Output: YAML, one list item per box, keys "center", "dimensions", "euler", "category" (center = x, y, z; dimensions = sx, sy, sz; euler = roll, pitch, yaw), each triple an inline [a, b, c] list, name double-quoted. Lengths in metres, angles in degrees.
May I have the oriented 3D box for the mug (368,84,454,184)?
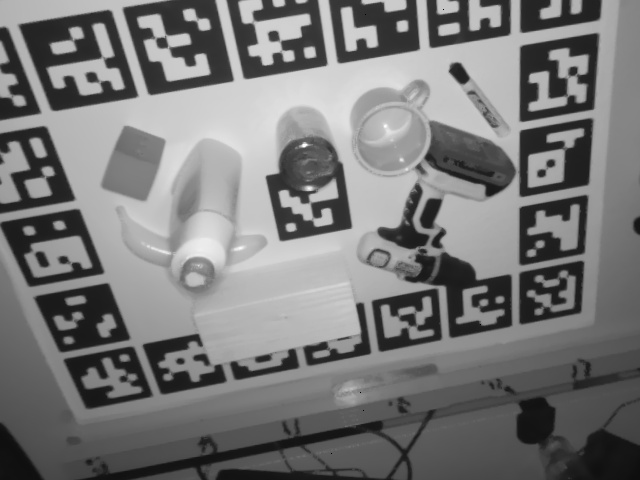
- center: [0.108, -0.131, 0.807]
  dimensions: [0.094, 0.082, 0.116]
  euler: [31, 109, -19]
  category: "mug"

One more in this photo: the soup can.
- center: [0.003, -0.102, 0.793]
  dimensions: [0.068, 0.102, 0.067]
  euler: [-3, 124, -3]
  category: "soup can"

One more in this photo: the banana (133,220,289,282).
- center: [-0.139, 0.019, 0.886]
  dimensions: [0.198, 0.039, 0.074]
  euler: [5, 105, -7]
  category: "banana"

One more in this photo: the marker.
- center: [0.220, -0.169, 0.838]
  dimensions: [0.019, 0.020, 0.121]
  euler: [-37, 116, 12]
  category: "marker"

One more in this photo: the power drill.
- center: [0.174, -0.024, 0.897]
  dimensions: [0.186, 0.058, 0.185]
  euler: [18, 117, -12]
  category: "power drill"

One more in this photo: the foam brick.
- center: [-0.202, -0.093, 0.797]
  dimensions: [0.053, 0.078, 0.051]
  euler: [21, 118, -19]
  category: "foam brick"

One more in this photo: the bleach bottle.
- center: [-0.111, -0.022, 0.746]
  dimensions: [0.068, 0.252, 0.101]
  euler: [17, 118, -15]
  category: "bleach bottle"

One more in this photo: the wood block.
- center: [-0.045, 0.093, 0.913]
  dimensions: [0.207, 0.091, 0.089]
  euler: [-10, 119, -1]
  category: "wood block"
